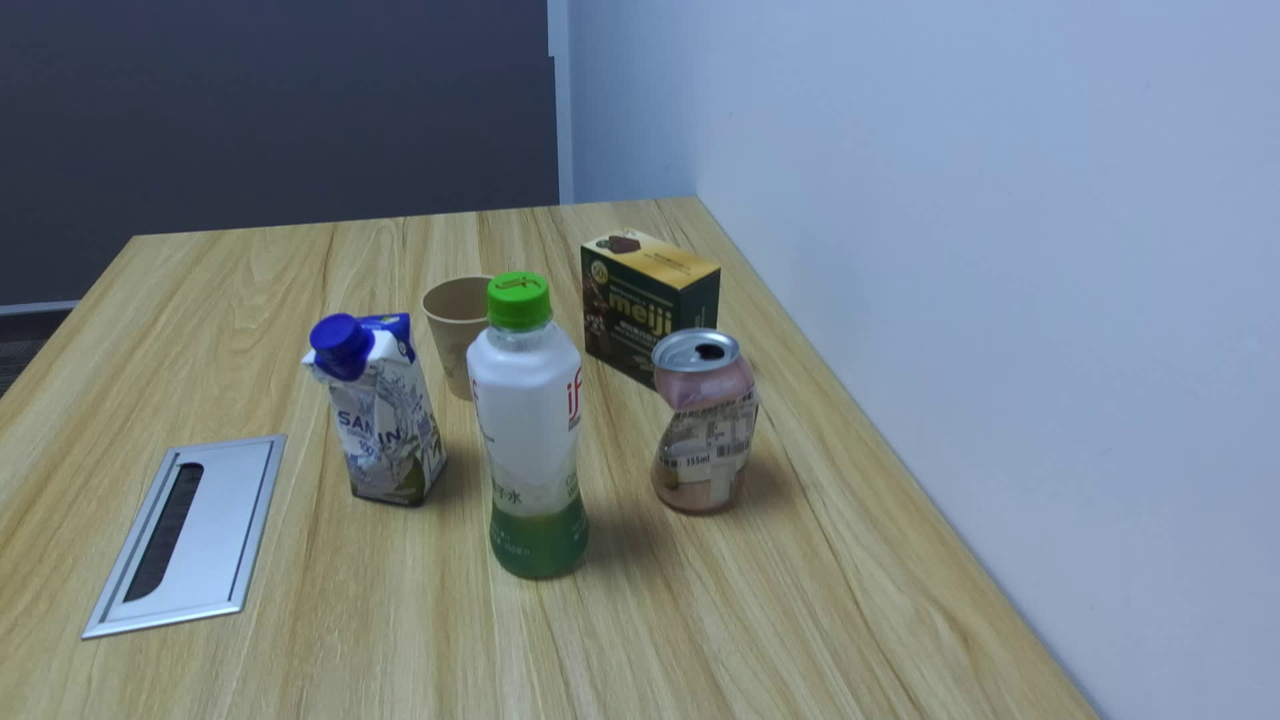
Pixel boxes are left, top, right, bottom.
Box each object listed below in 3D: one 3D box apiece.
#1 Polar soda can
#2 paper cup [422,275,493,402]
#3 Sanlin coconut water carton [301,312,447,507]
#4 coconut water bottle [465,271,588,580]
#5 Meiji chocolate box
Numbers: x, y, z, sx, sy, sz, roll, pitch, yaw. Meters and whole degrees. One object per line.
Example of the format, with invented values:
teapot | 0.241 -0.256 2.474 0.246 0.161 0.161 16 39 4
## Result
Polar soda can | 0.035 0.040 0.469 0.067 0.122 0.070 -21 40 -21
paper cup | -0.143 -0.019 0.610 0.075 0.082 0.075 2 36 -1
Sanlin coconut water carton | -0.171 0.026 0.460 0.060 0.144 0.070 8 37 11
coconut water bottle | -0.062 0.040 0.402 0.063 0.189 0.063 0 35 0
Meiji chocolate box | 0.007 -0.038 0.583 0.109 0.109 0.056 29 43 34
